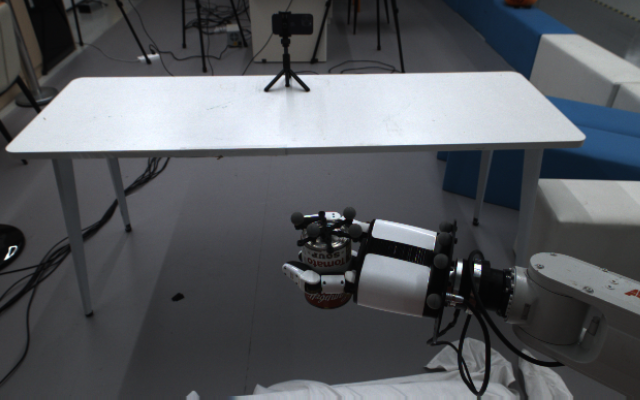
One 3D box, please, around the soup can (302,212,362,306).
[{"bbox_3d":[0.012,0.086,0.650,0.067,0.101,0.067,-2,32,1],"label":"soup can"}]
